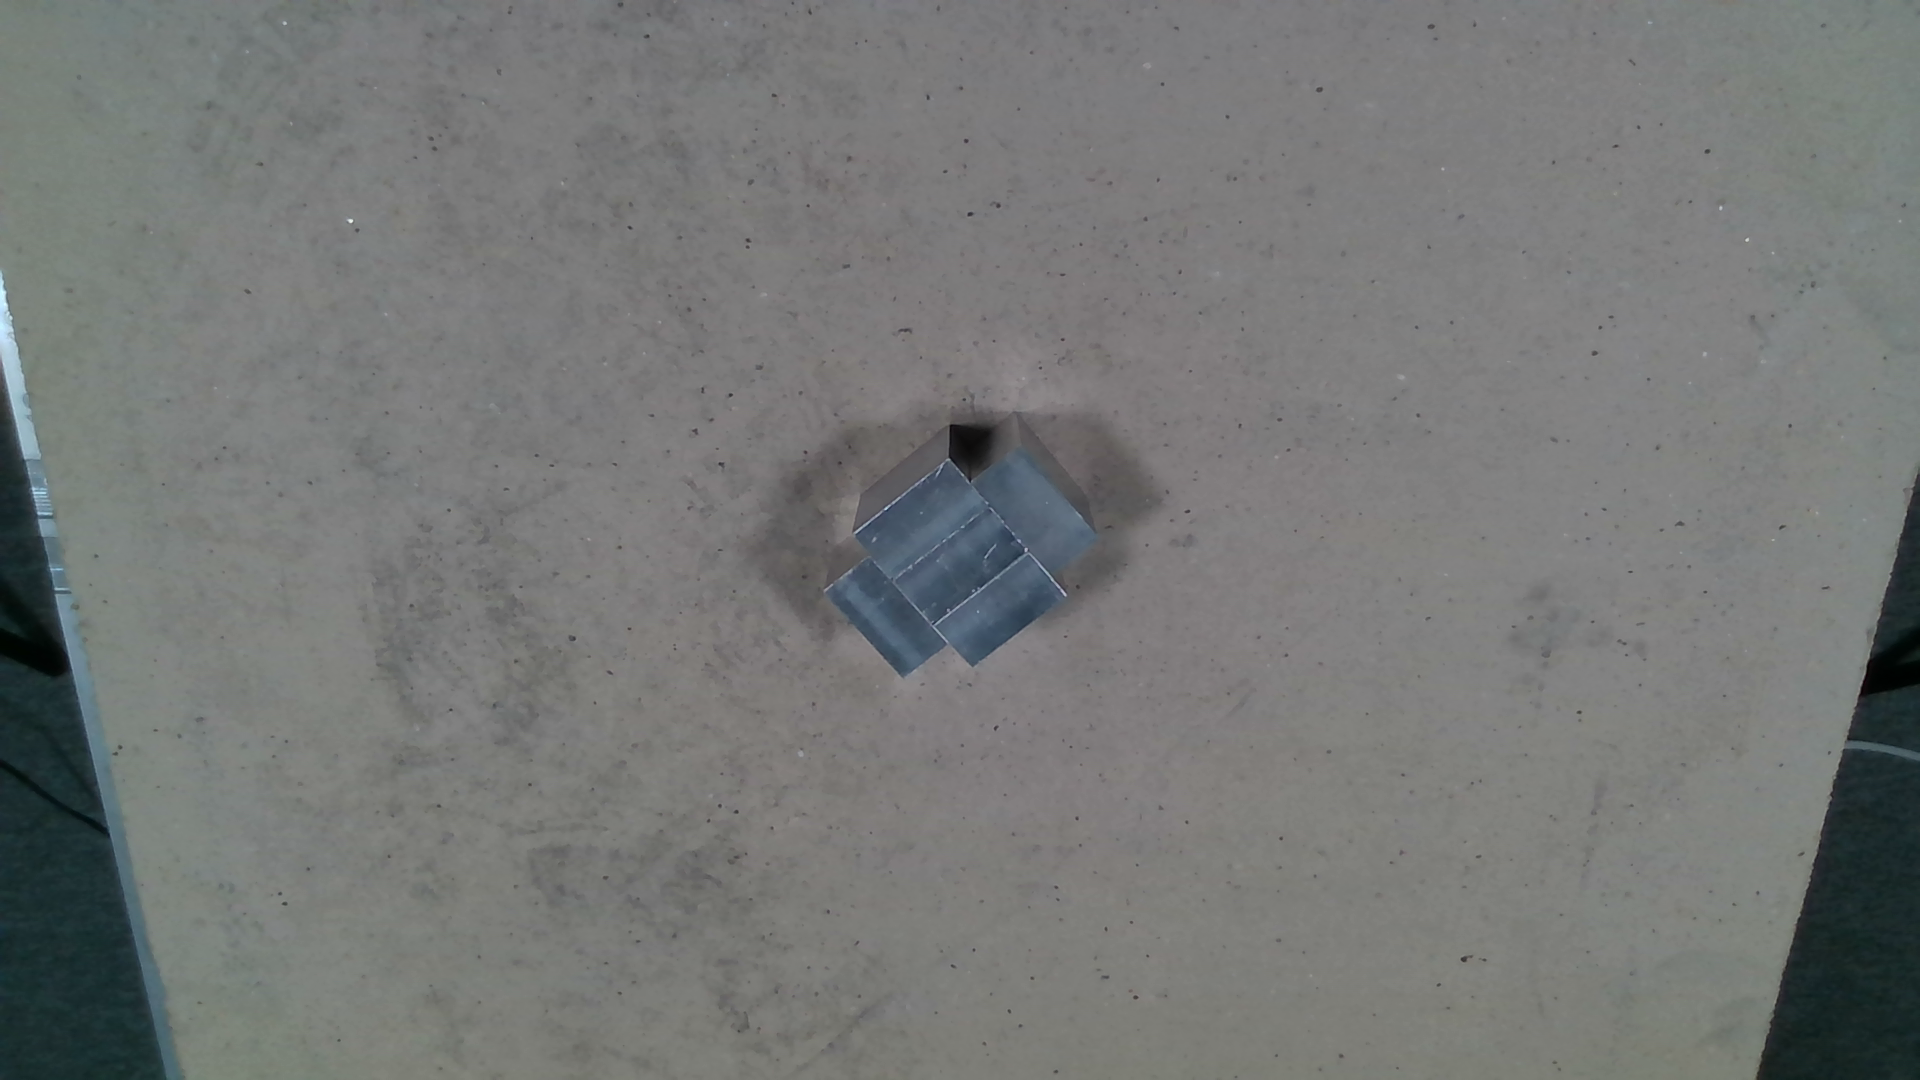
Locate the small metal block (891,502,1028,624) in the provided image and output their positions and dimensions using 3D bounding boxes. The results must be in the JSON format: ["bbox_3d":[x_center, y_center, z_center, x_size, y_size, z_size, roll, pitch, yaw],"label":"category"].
[{"bbox_3d":[0.000,0.002,0.571,0.050,0.050,0.025,-38,106,13],"label":"small metal block"}]

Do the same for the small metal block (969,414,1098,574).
[{"bbox_3d":[0.029,-0.021,0.563,0.025,0.050,0.050,-38,106,13],"label":"small metal block"}]

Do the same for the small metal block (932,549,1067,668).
[{"bbox_3d":[0.016,0.020,0.578,0.050,0.050,0.025,-39,105,13],"label":"small metal block"}]

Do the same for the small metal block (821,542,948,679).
[{"bbox_3d":[-0.030,0.023,0.579,0.025,0.050,0.050,-38,106,13],"label":"small metal block"}]

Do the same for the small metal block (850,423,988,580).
[{"bbox_3d":[-0.016,-0.017,0.565,0.050,0.050,0.025,-38,106,13],"label":"small metal block"}]
